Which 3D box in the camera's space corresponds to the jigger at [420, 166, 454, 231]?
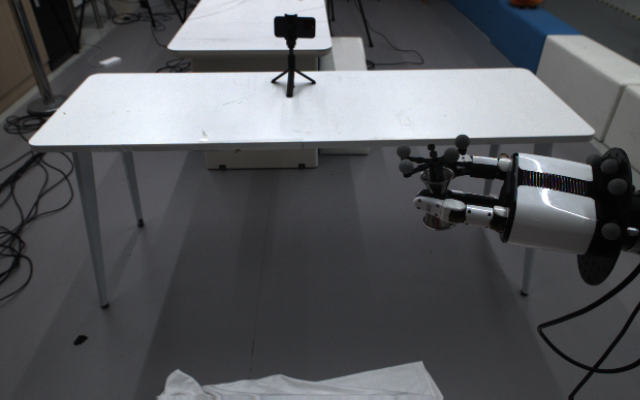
[{"bbox_3d":[0.147,-0.003,0.600,0.043,0.071,0.043,-10,31,6],"label":"jigger"}]
